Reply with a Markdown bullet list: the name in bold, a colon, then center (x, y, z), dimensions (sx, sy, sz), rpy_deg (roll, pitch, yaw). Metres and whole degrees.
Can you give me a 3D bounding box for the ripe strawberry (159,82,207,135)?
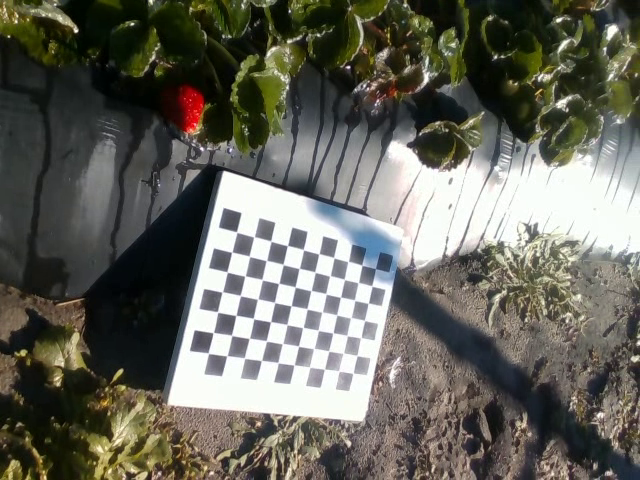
- **ripe strawberry**: center (-0.116, -0.111, 0.524), dimensions (0.042, 0.052, 0.047), rpy_deg (8, -38, -33)
